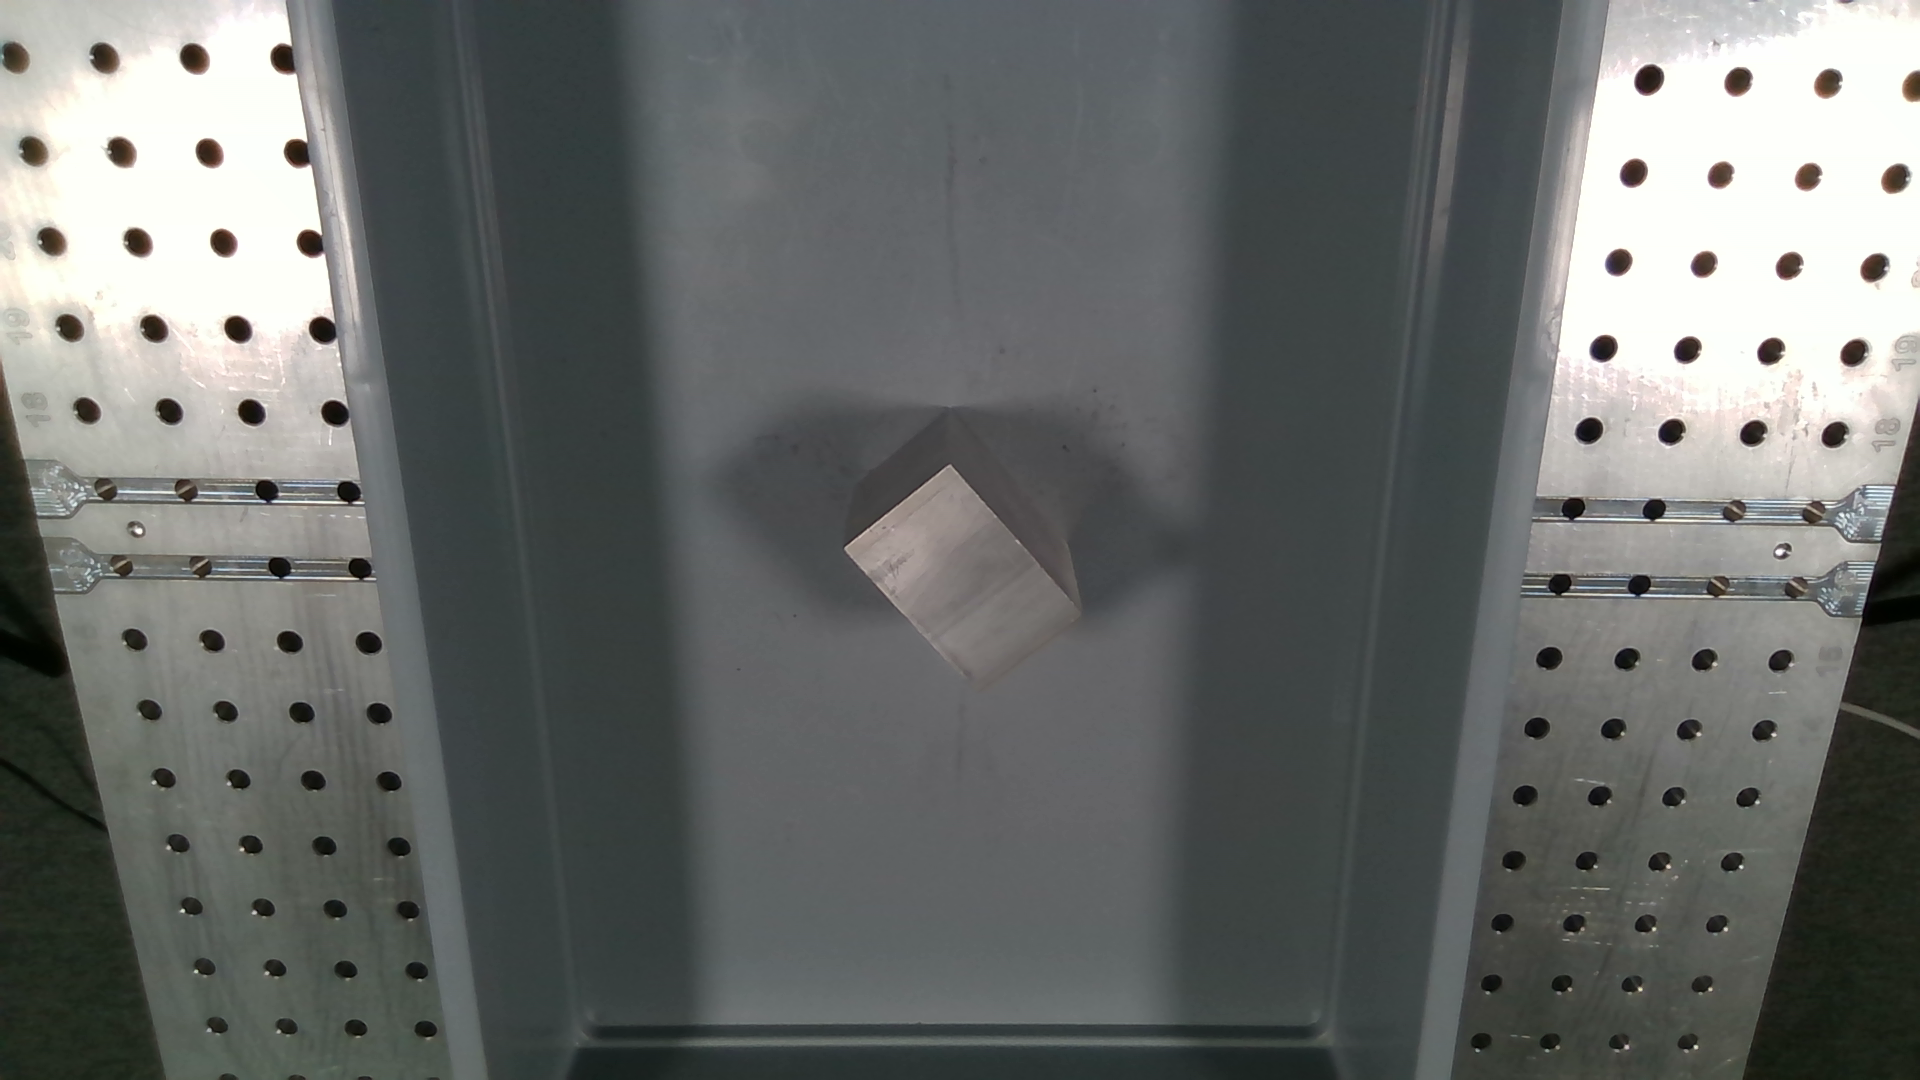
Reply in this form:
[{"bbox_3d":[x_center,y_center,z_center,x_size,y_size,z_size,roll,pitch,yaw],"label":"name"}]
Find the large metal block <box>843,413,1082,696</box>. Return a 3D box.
[{"bbox_3d":[0.002,0.003,0.554,0.050,0.080,0.080,-38,106,13],"label":"large metal block"}]
